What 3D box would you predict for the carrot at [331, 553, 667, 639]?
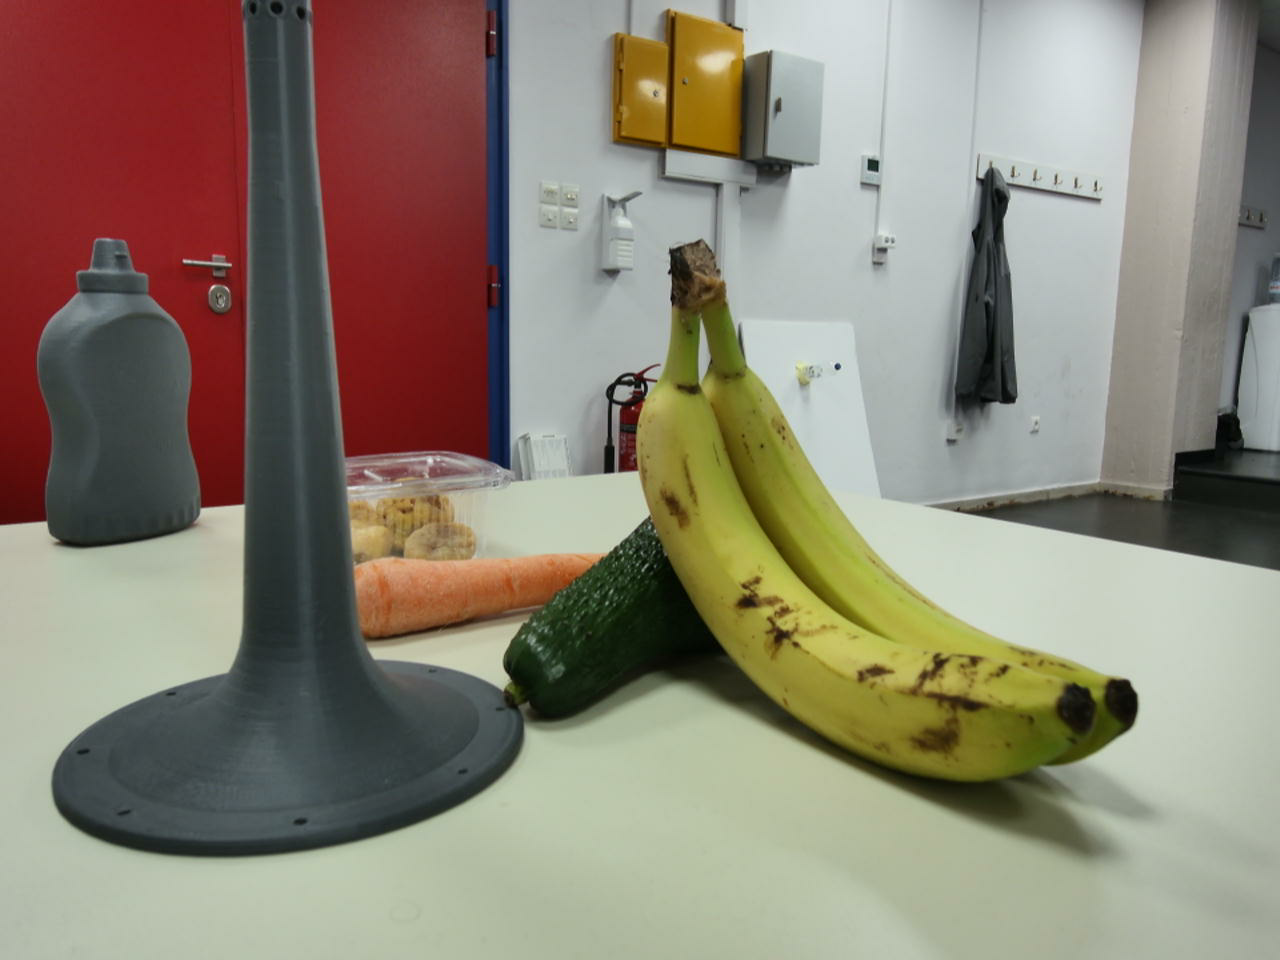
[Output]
[{"bbox_3d":[-0.066,0.053,0.534,0.196,0.041,0.039,-6,9,-36],"label":"carrot"}]
